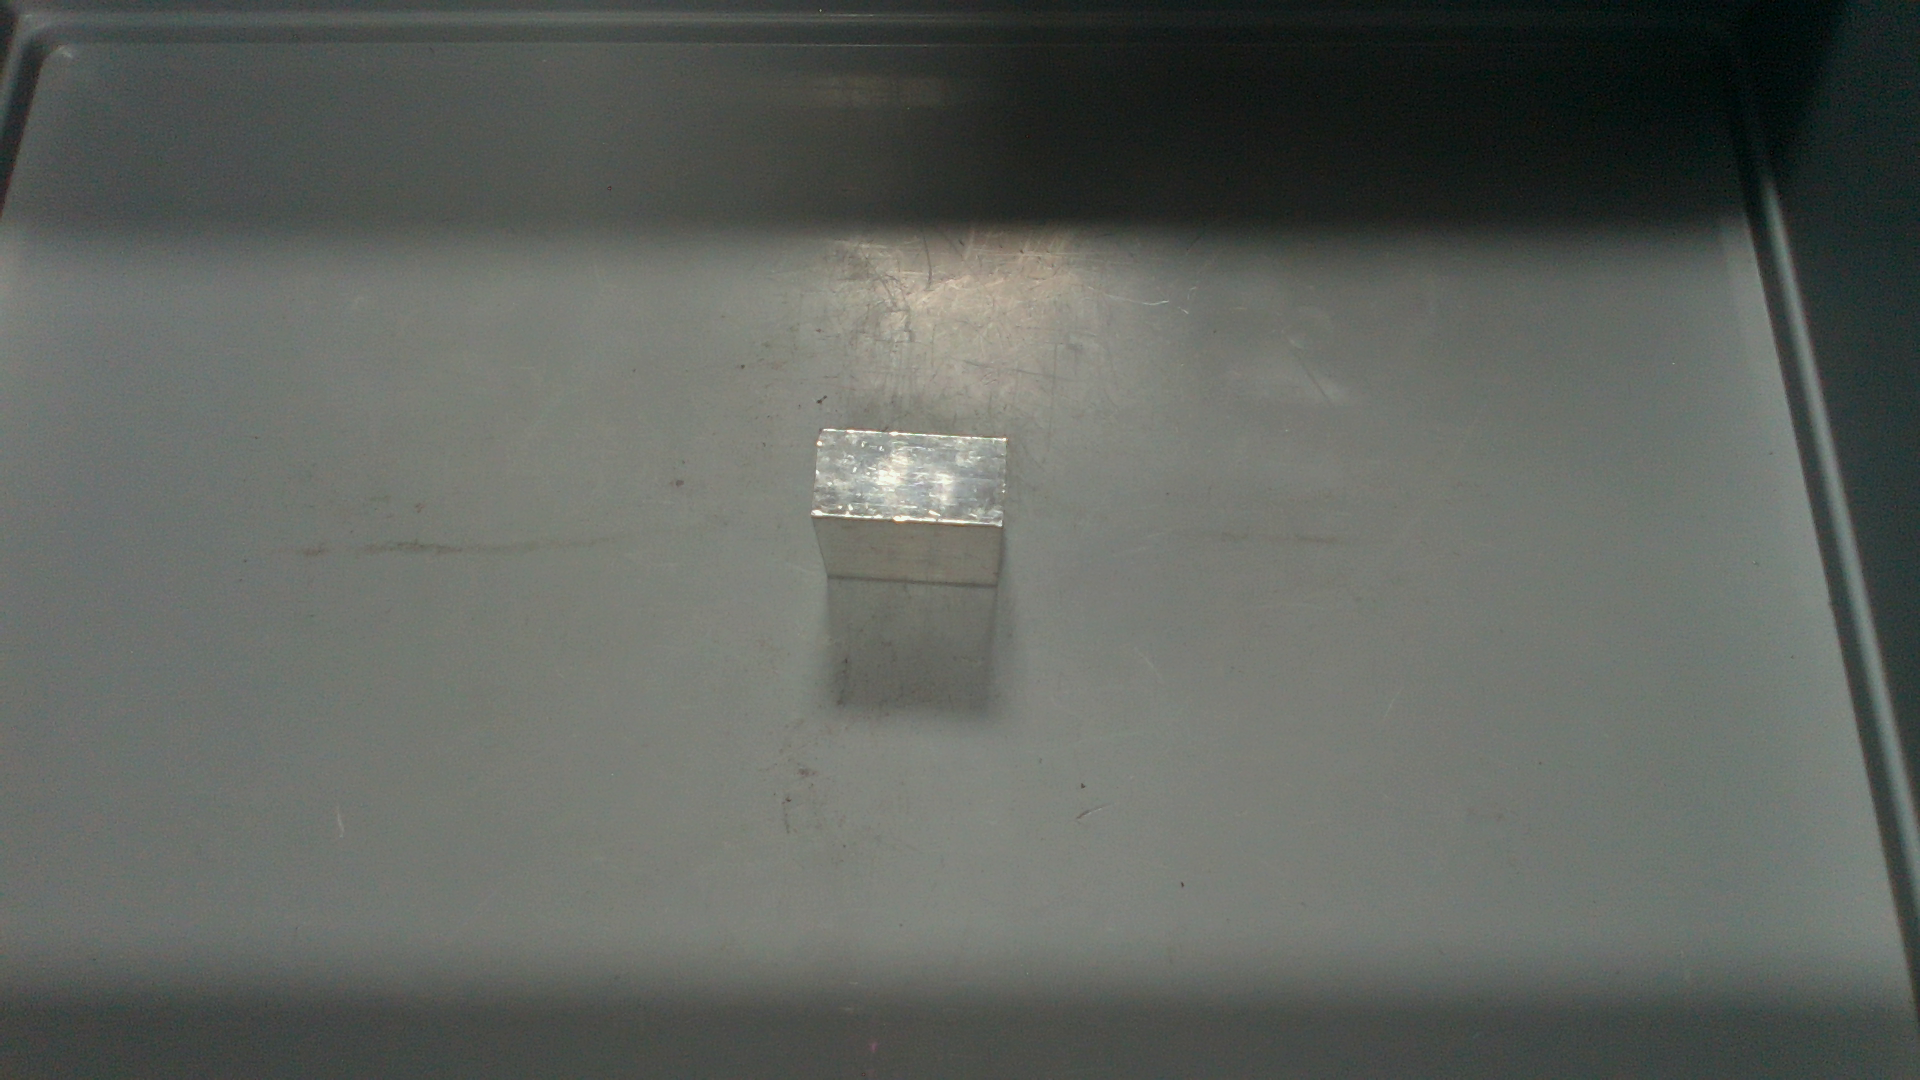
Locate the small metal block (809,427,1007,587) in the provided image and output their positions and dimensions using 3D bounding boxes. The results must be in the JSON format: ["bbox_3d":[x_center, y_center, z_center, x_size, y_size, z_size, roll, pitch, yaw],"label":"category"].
[{"bbox_3d":[-0.013,-0.008,0.381,0.050,0.050,0.025,3,70,1],"label":"small metal block"}]
